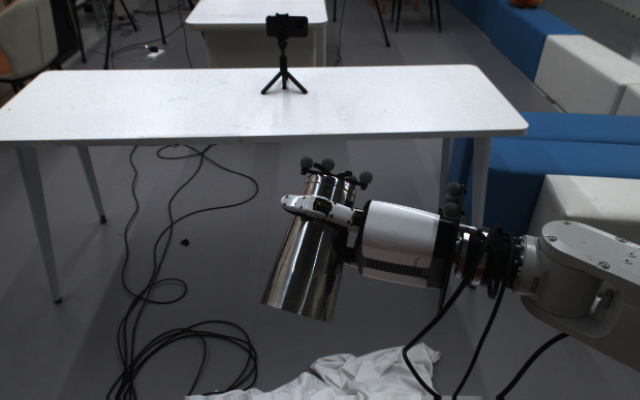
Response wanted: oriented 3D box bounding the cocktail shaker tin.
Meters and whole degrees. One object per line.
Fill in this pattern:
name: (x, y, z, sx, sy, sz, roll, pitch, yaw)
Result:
cocktail shaker tin: (-0.004, 0.055, 0.608, 0.093, 0.093, 0.170, 13, 77, 15)
